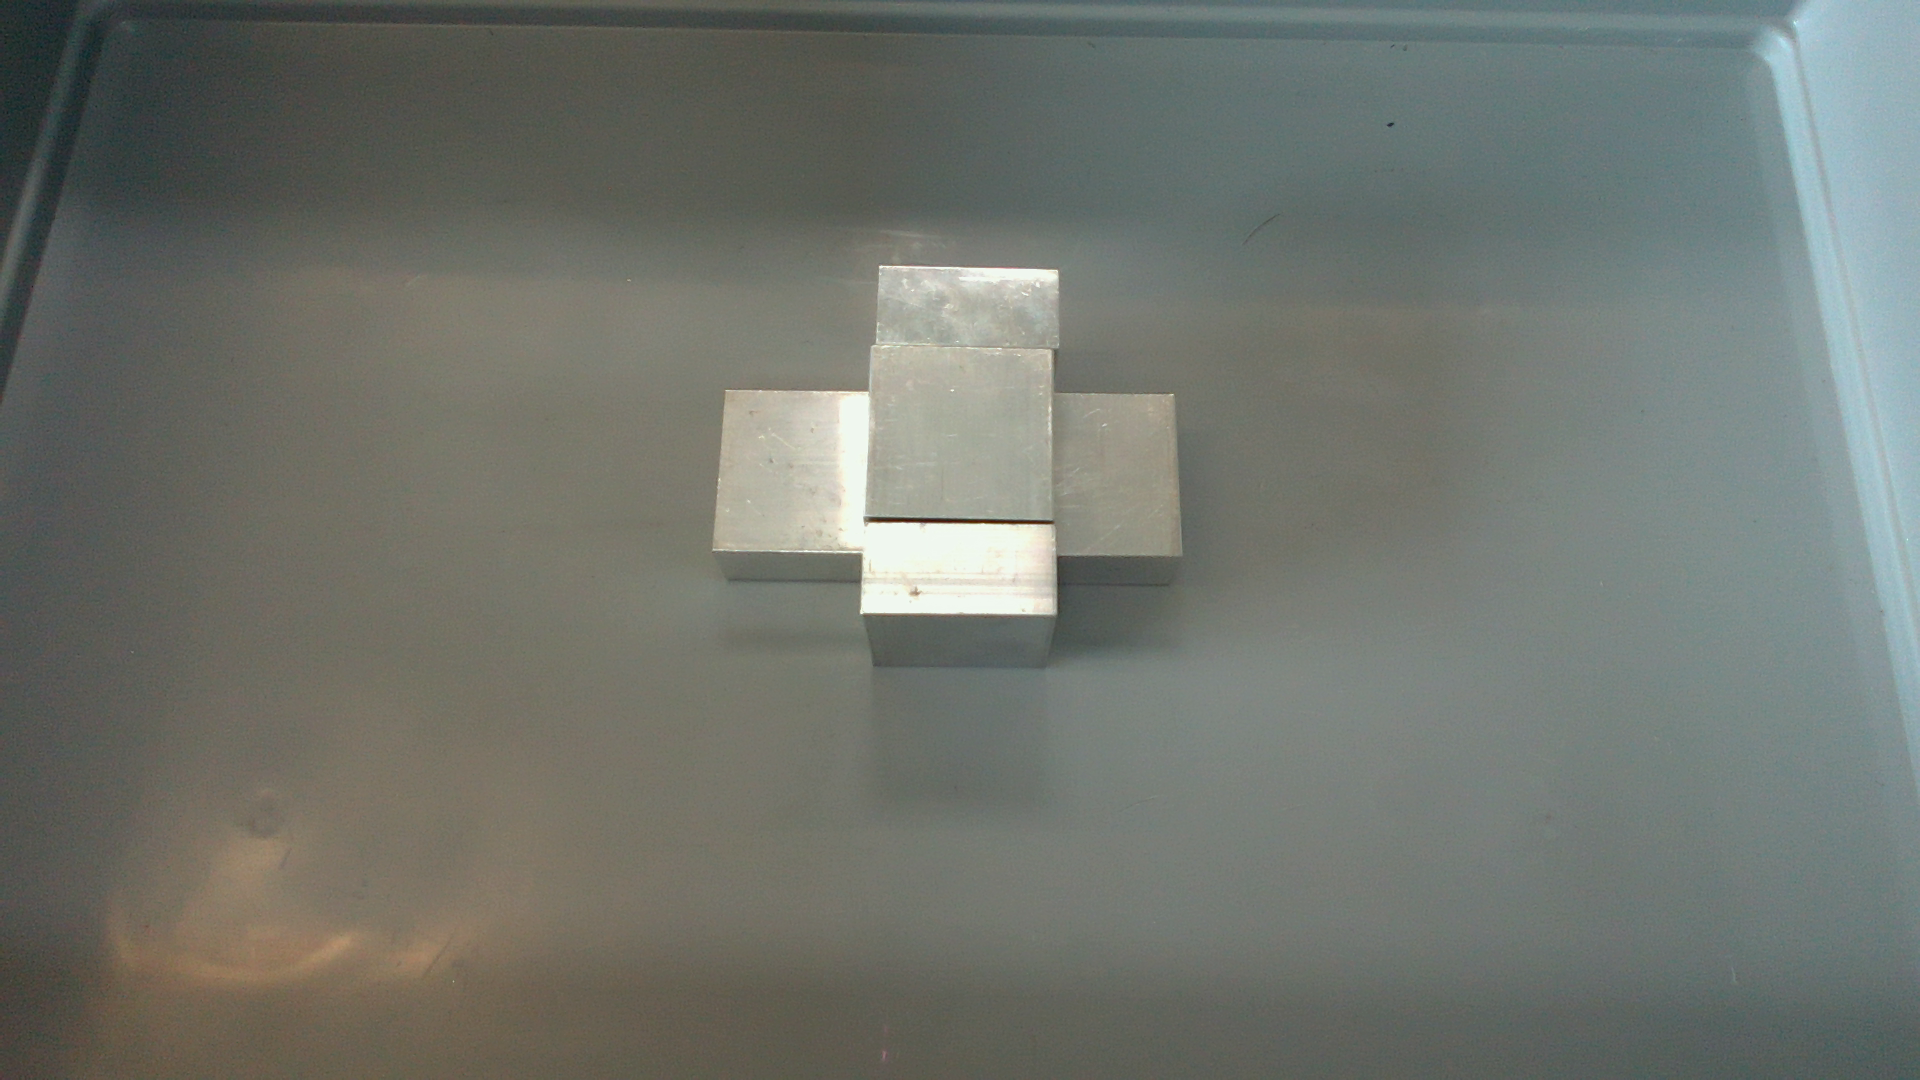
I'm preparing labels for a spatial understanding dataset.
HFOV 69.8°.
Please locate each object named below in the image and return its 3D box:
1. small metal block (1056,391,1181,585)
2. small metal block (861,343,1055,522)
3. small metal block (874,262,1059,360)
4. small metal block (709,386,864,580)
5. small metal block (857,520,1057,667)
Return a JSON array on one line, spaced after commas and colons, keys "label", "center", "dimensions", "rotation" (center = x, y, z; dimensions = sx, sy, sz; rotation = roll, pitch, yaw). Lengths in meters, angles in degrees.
[{"label": "small metal block", "center": [0.036, -0.015, 0.399], "dimensions": [0.050, 0.025, 0.050], "rotation": [1, 70, 0]}, {"label": "small metal block", "center": [0.000, -0.025, 0.375], "dimensions": [0.050, 0.025, 0.050], "rotation": [1, 70, 0]}, {"label": "small metal block", "center": [0.002, -0.056, 0.400], "dimensions": [0.050, 0.050, 0.025], "rotation": [1, 70, 0]}, {"label": "small metal block", "center": [-0.043, -0.016, 0.399], "dimensions": [0.050, 0.025, 0.050], "rotation": [1, 70, 0]}, {"label": "small metal block", "center": [-0.001, 0.015, 0.373], "dimensions": [0.050, 0.050, 0.025], "rotation": [1, 70, 0]}]
